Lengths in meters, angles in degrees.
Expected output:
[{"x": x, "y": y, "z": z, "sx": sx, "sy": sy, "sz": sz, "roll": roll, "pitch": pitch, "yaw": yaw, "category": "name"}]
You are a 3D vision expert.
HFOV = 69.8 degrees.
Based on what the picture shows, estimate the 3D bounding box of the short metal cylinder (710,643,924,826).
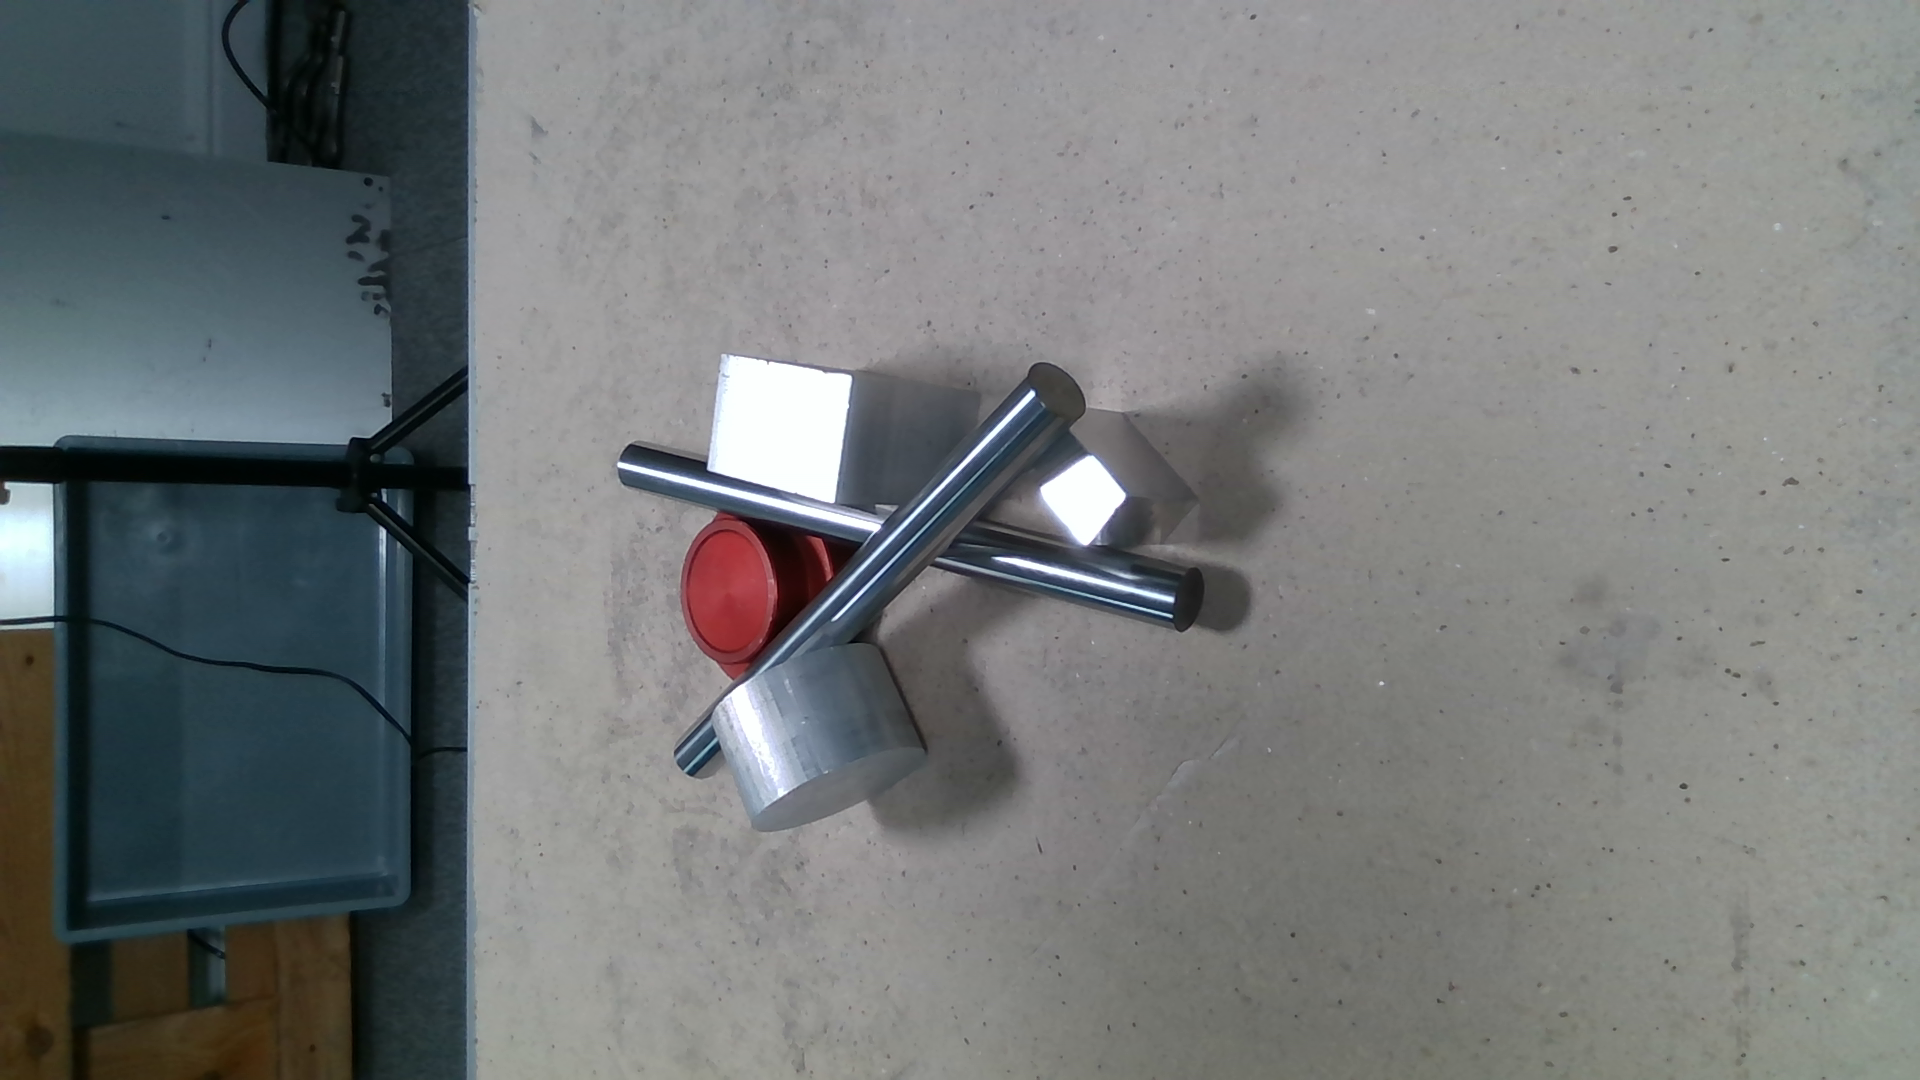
[{"x": -0.062, "y": 0.086, "z": 0.600, "sx": 0.080, "sy": 0.080, "sz": 0.050, "roll": -39, "pitch": 66, "yaw": 33, "category": "short metal cylinder"}]

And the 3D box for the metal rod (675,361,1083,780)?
[{"x": -0.048, "y": 0.027, "z": 0.578, "sx": 0.301, "sy": 0.025, "sz": 0.025, "roll": -44, "pitch": 63, "yaw": 41, "category": "metal rod"}]

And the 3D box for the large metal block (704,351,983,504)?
[{"x": -0.050, "y": -0.047, "z": 0.588, "sx": 0.080, "sy": 0.080, "sz": 0.050, "roll": 15, "pitch": 100, "yaw": 39, "category": "large metal block"}]

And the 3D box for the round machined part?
[{"x": -0.095, "y": 0.024, "z": 0.653, "sx": 0.098, "sy": 0.042, "sz": 0.098, "roll": 0, "pitch": 91, "yaw": 40, "category": "round machined part"}]

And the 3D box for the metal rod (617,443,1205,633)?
[{"x": -0.036, "y": -0.007, "z": 0.593, "sx": 0.300, "sy": 0.025, "sz": 0.025, "roll": 14, "pitch": 99, "yaw": 33, "category": "metal rod"}]

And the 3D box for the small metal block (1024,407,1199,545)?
[{"x": 0.054, "y": -0.025, "z": 0.519, "sx": 0.050, "sy": 0.050, "sz": 0.025, "roll": 52, "pitch": 121, "yaw": 27, "category": "small metal block"}]
